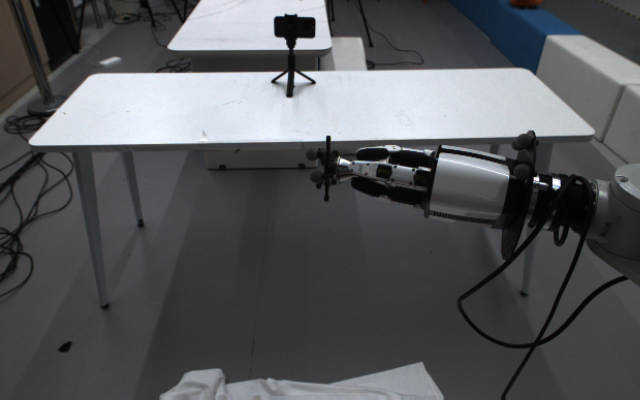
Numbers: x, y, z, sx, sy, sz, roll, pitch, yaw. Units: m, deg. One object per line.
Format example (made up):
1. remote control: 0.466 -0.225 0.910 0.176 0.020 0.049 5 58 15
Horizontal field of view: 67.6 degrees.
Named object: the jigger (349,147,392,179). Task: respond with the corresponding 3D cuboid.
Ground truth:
1. jigger: 0.066 -0.044 0.643 0.071 0.043 0.043 3 34 17
